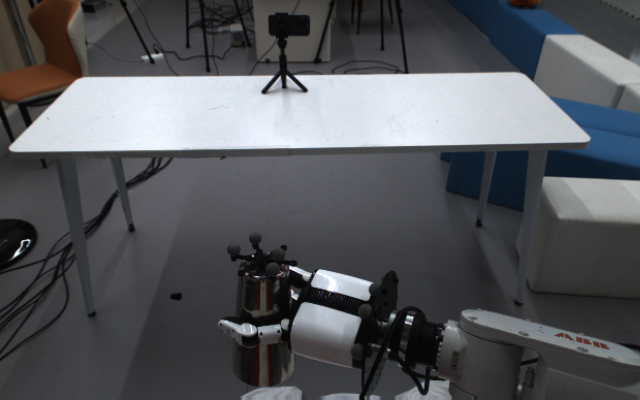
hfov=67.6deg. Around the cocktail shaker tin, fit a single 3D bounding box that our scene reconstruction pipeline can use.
[{"bbox_3d":[-0.077,0.162,0.669,0.093,0.170,0.093,2,25,-1],"label":"cocktail shaker tin"}]
